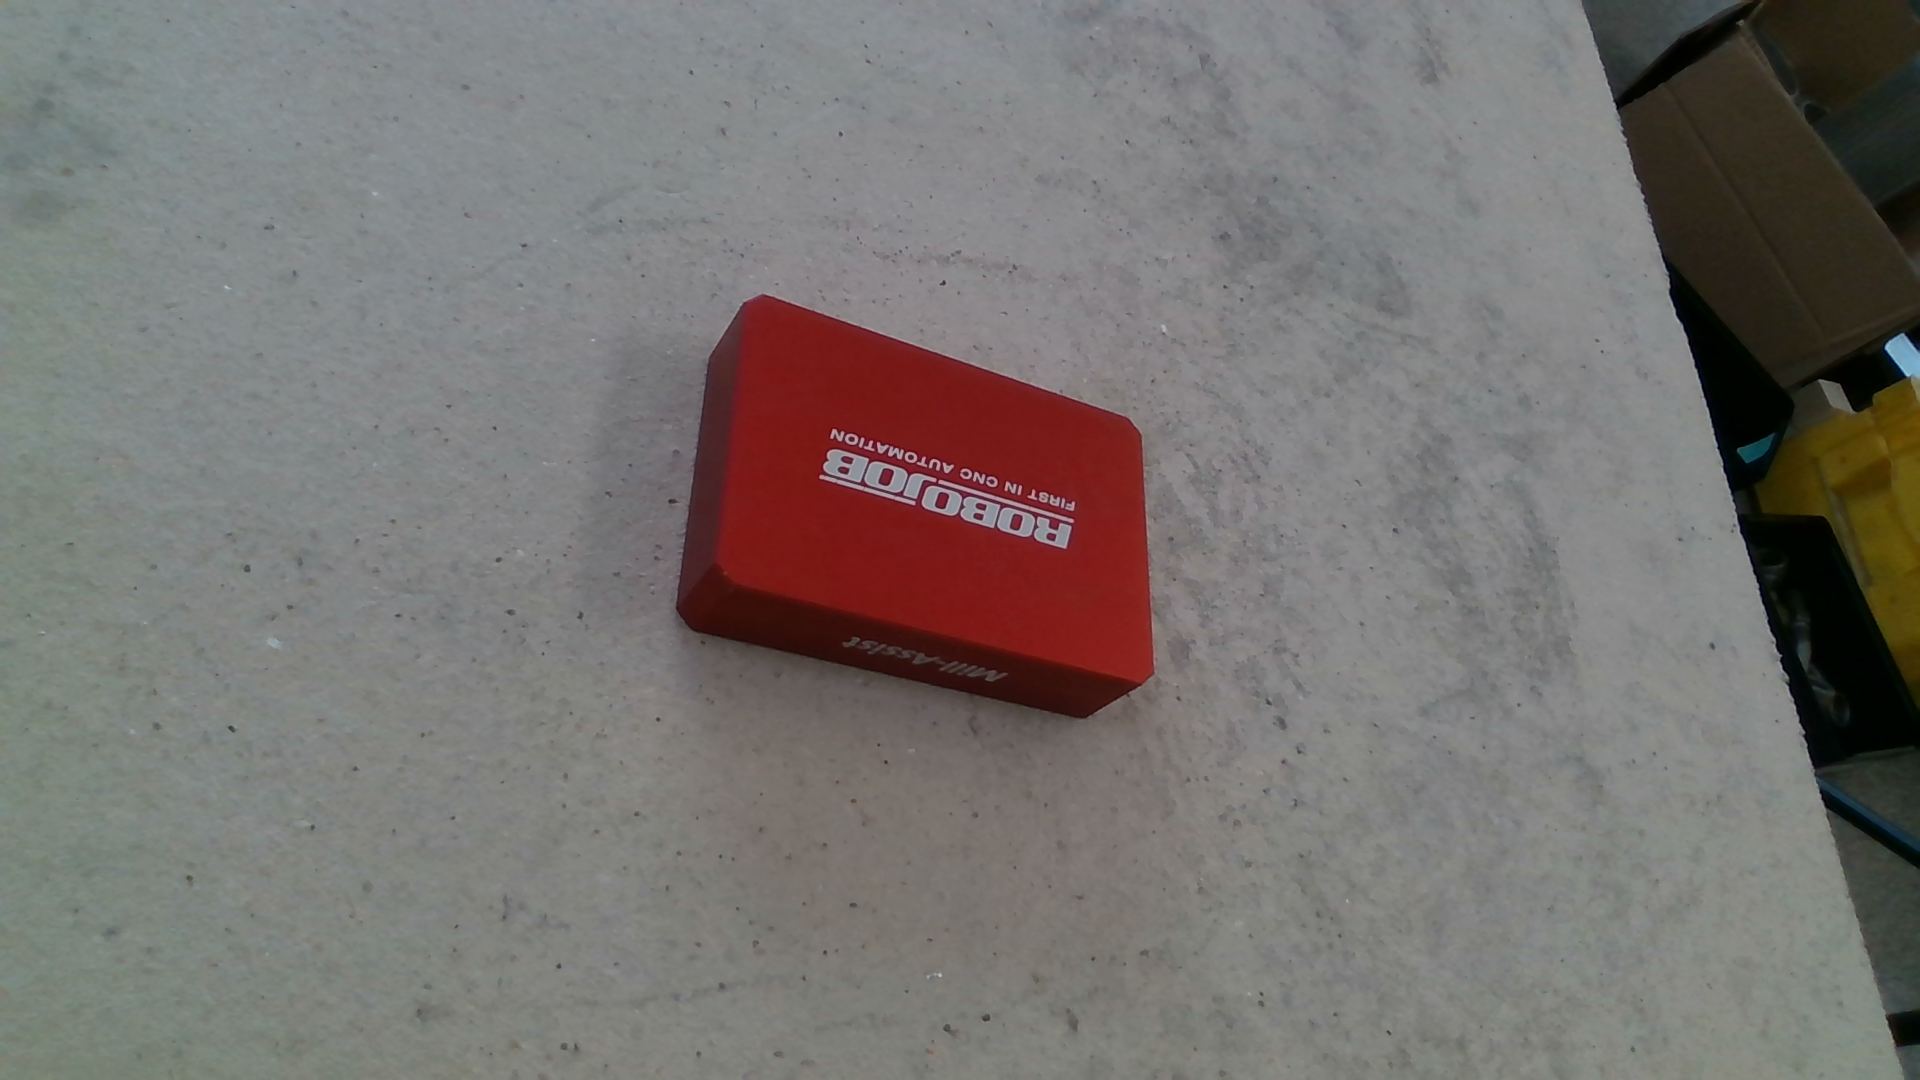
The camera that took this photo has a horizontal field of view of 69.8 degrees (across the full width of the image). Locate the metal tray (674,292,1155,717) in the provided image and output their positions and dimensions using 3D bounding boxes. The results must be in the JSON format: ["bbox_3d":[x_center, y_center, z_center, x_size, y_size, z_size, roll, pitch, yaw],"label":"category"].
[{"bbox_3d":[-0.009,-0.008,0.388,0.130,0.030,0.090,15,59,-24],"label":"metal tray"}]
